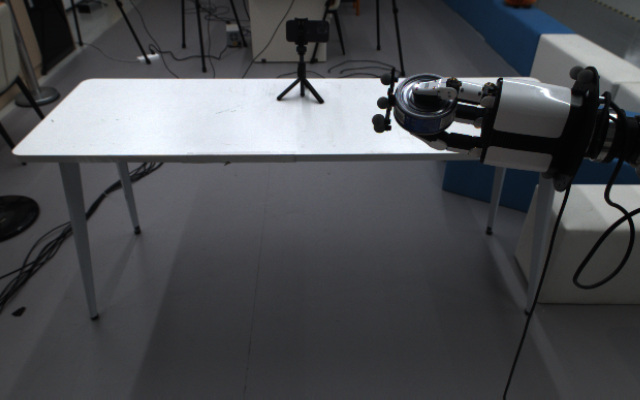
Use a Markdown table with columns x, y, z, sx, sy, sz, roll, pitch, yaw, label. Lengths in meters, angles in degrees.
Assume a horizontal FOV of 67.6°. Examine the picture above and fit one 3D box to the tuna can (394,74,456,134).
| x | y | z | sx | sy | sz | roll | pitch | yaw | label |
| --- | --- | --- | --- | --- | --- | --- | --- | --- | --- |
| 0.145 | -0.135 | 0.664 | 0.085 | 0.034 | 0.085 | -2 | 57 | 3 | tuna can |
